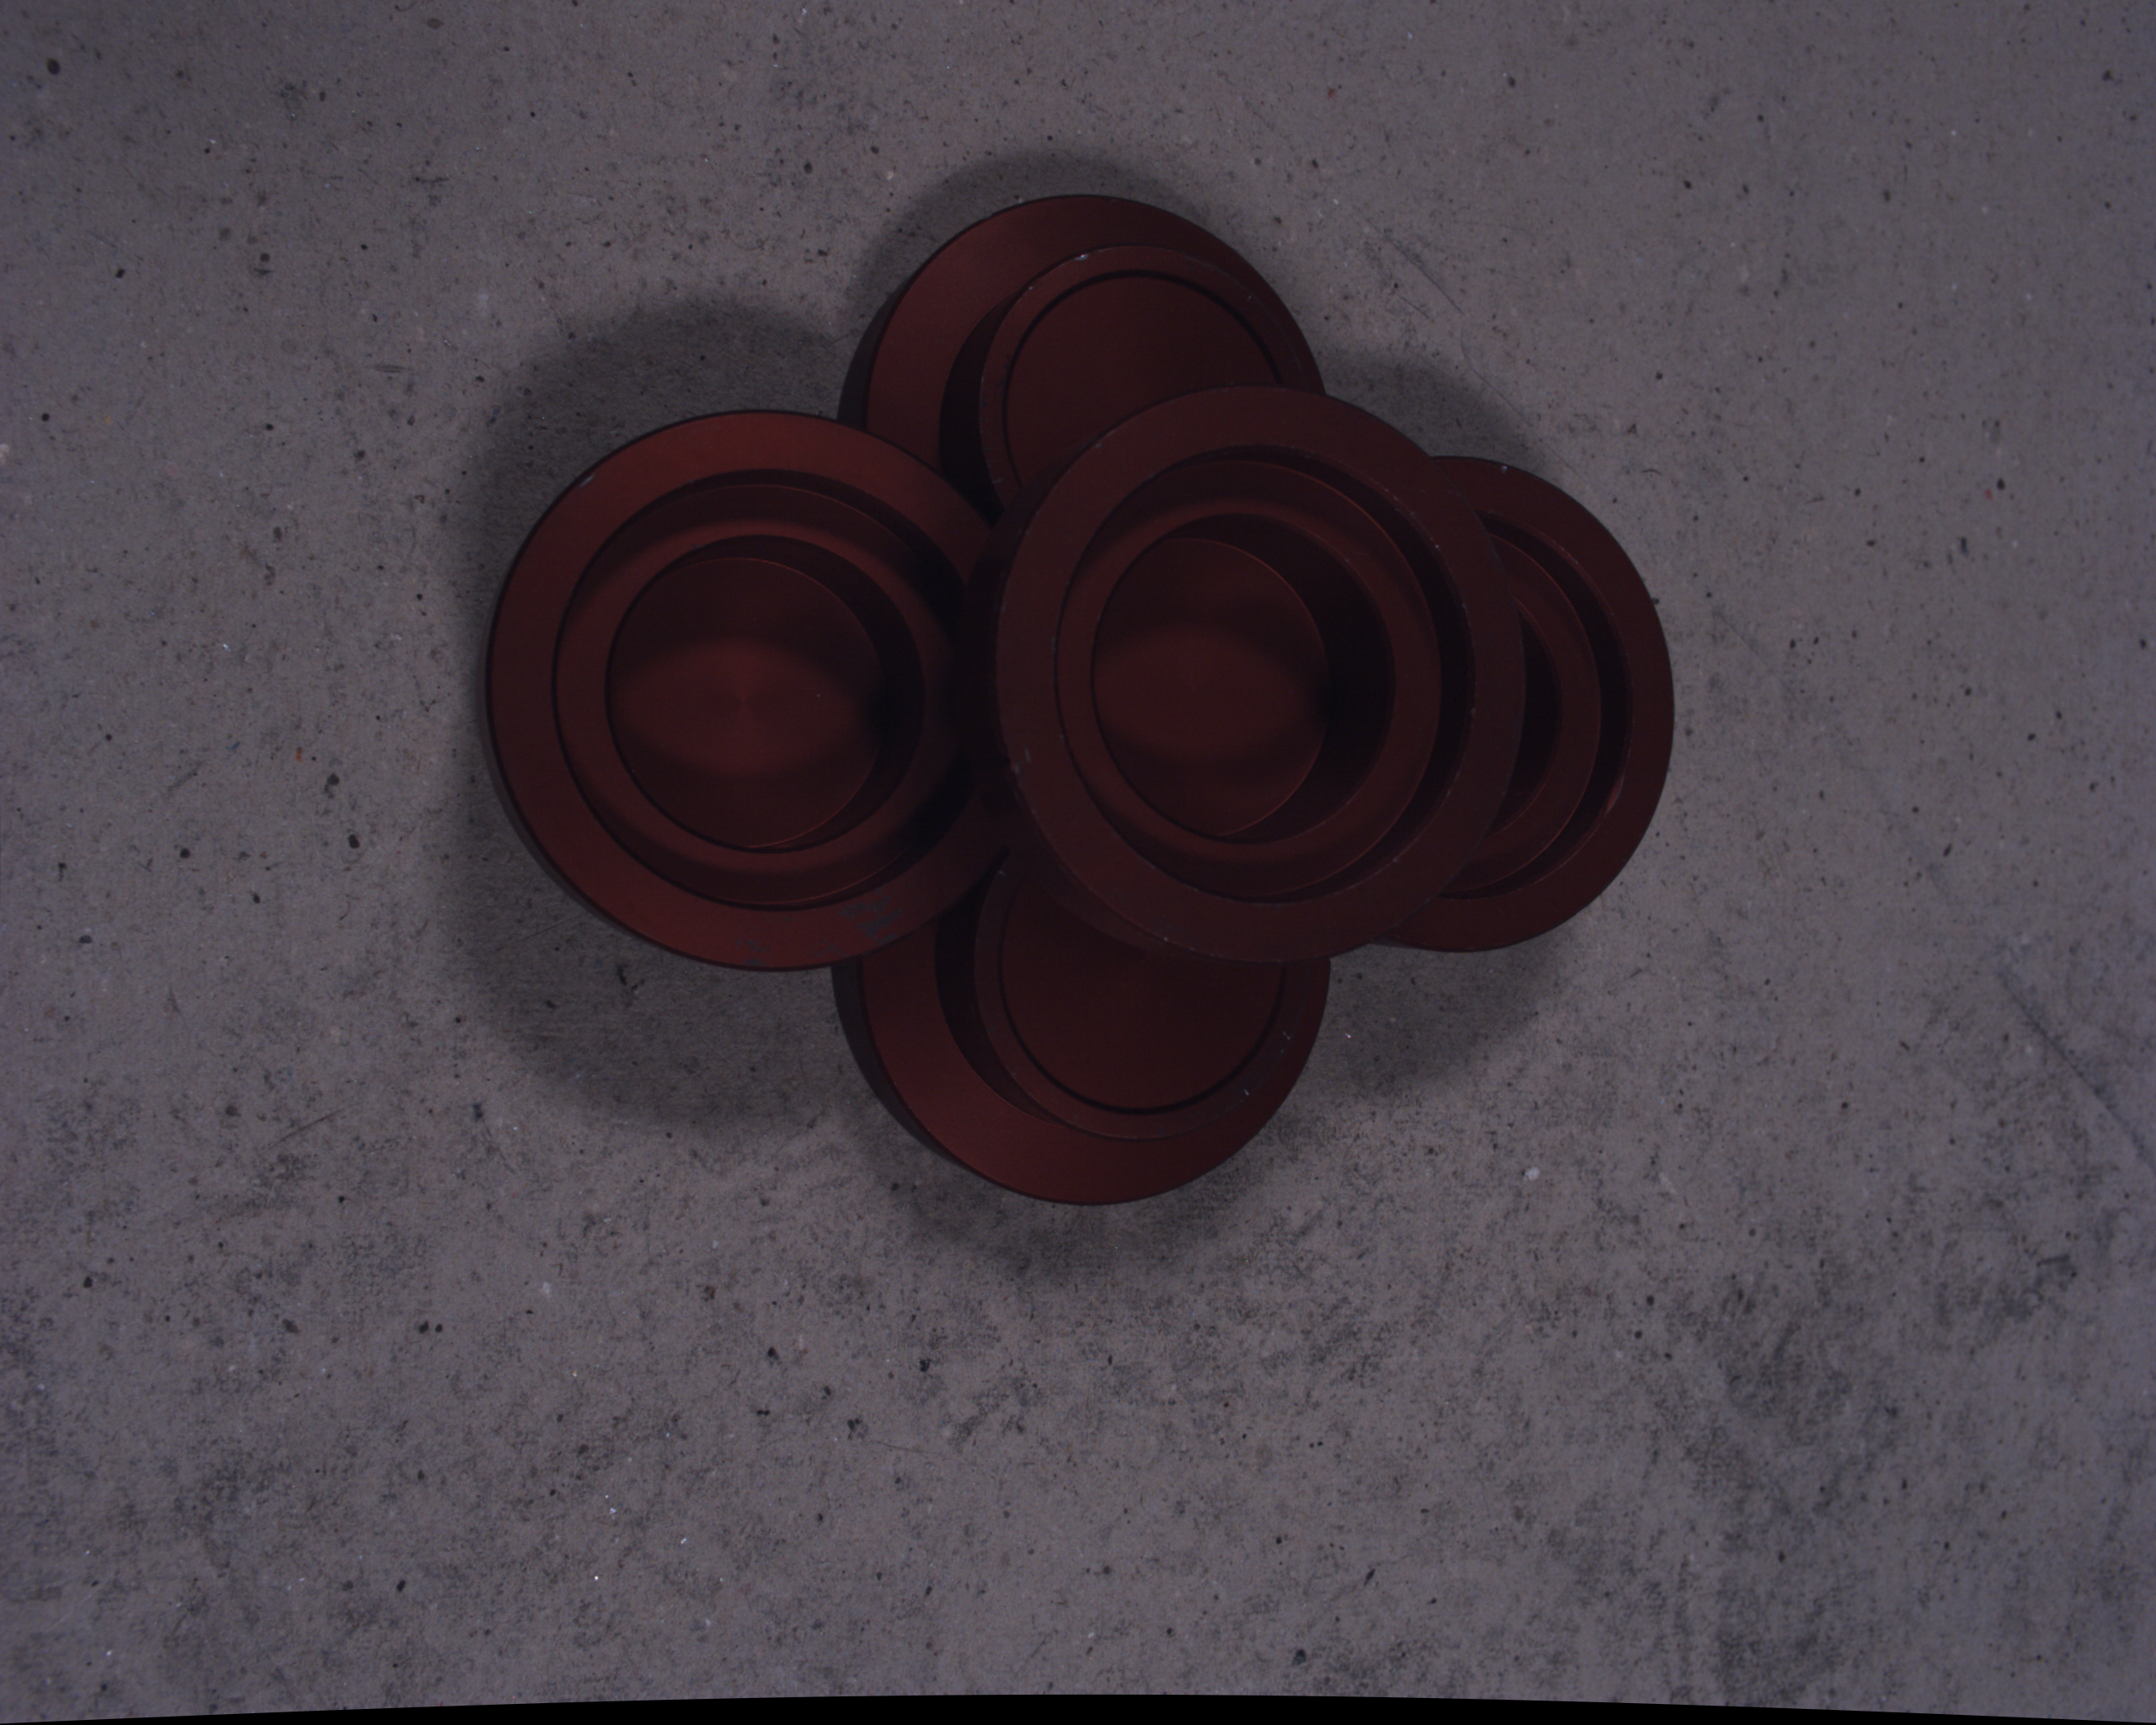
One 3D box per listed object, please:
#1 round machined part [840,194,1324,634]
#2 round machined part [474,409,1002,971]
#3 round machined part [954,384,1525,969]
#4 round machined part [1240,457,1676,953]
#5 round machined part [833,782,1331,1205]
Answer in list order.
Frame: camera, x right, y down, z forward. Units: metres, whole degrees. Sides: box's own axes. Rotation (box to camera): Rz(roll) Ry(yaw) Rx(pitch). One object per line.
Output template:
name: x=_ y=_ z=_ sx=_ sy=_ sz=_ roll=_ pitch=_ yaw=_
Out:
round machined part: x=0.006 y=-0.081 z=0.404 sx=0.099 sy=0.042 sz=0.097 roll=0 pitch=90 yaw=-21
round machined part: x=-0.059 y=-0.030 z=0.380 sx=0.099 sy=0.042 sz=0.097 roll=0 pitch=90 yaw=-21
round machined part: x=0.025 y=-0.031 z=0.366 sx=0.099 sy=0.042 sz=0.097 roll=0 pitch=91 yaw=-21
round machined part: x=0.069 y=-0.031 z=0.428 sx=0.099 sy=0.042 sz=0.097 roll=0 pitch=90 yaw=-21
round machined part: x=0.006 y=0.018 z=0.404 sx=0.099 sy=0.042 sz=0.097 roll=0 pitch=90 yaw=-21
